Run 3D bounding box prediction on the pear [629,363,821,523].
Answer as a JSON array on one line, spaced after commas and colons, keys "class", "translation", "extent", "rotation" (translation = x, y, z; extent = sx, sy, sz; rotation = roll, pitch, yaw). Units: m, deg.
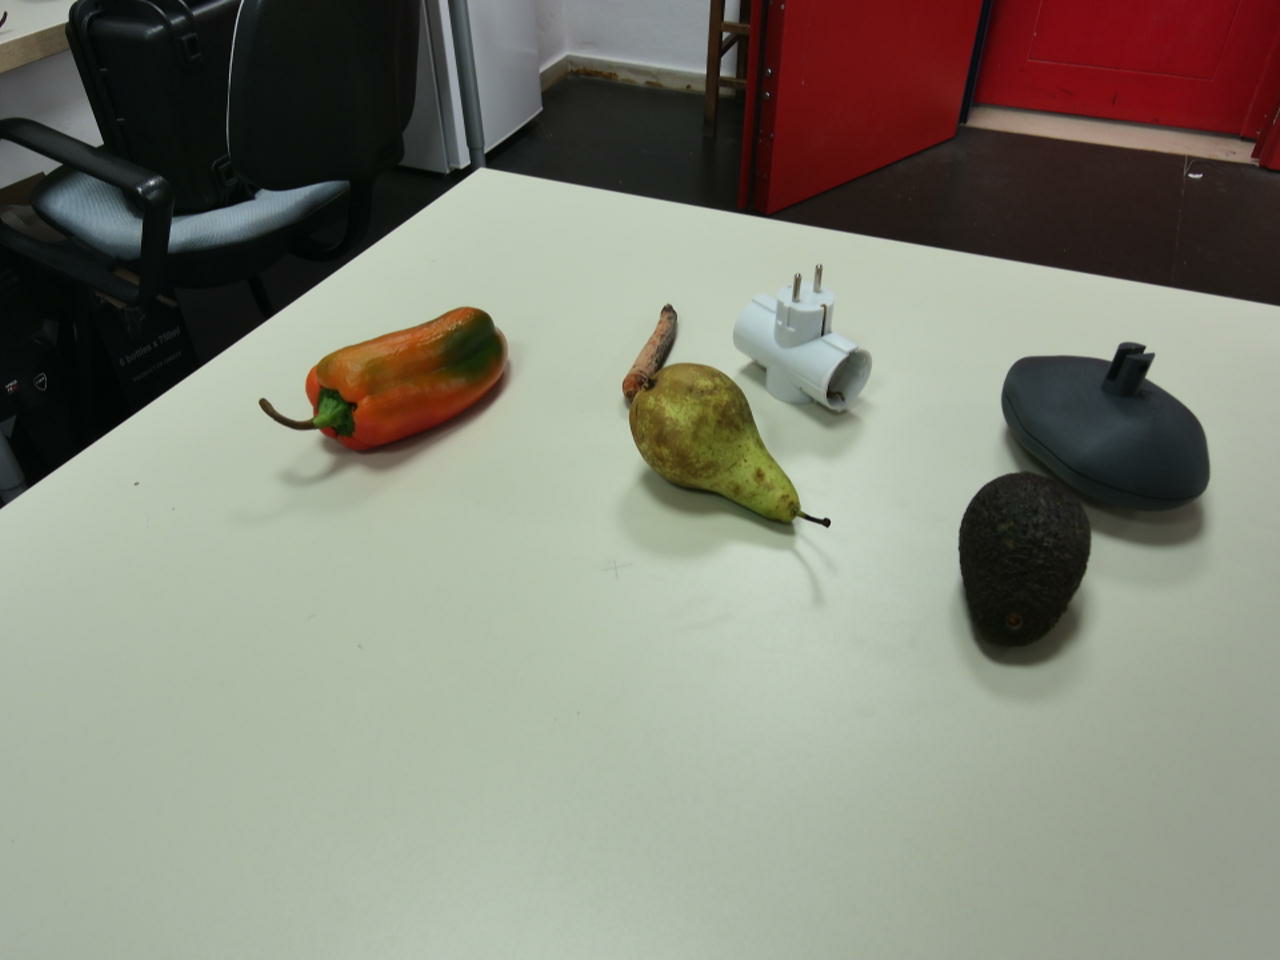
[{"class": "pear", "translation": [0.060, -0.022, 0.590], "extent": [0.144, 0.075, 0.071], "rotation": [21, 43, 25]}]
